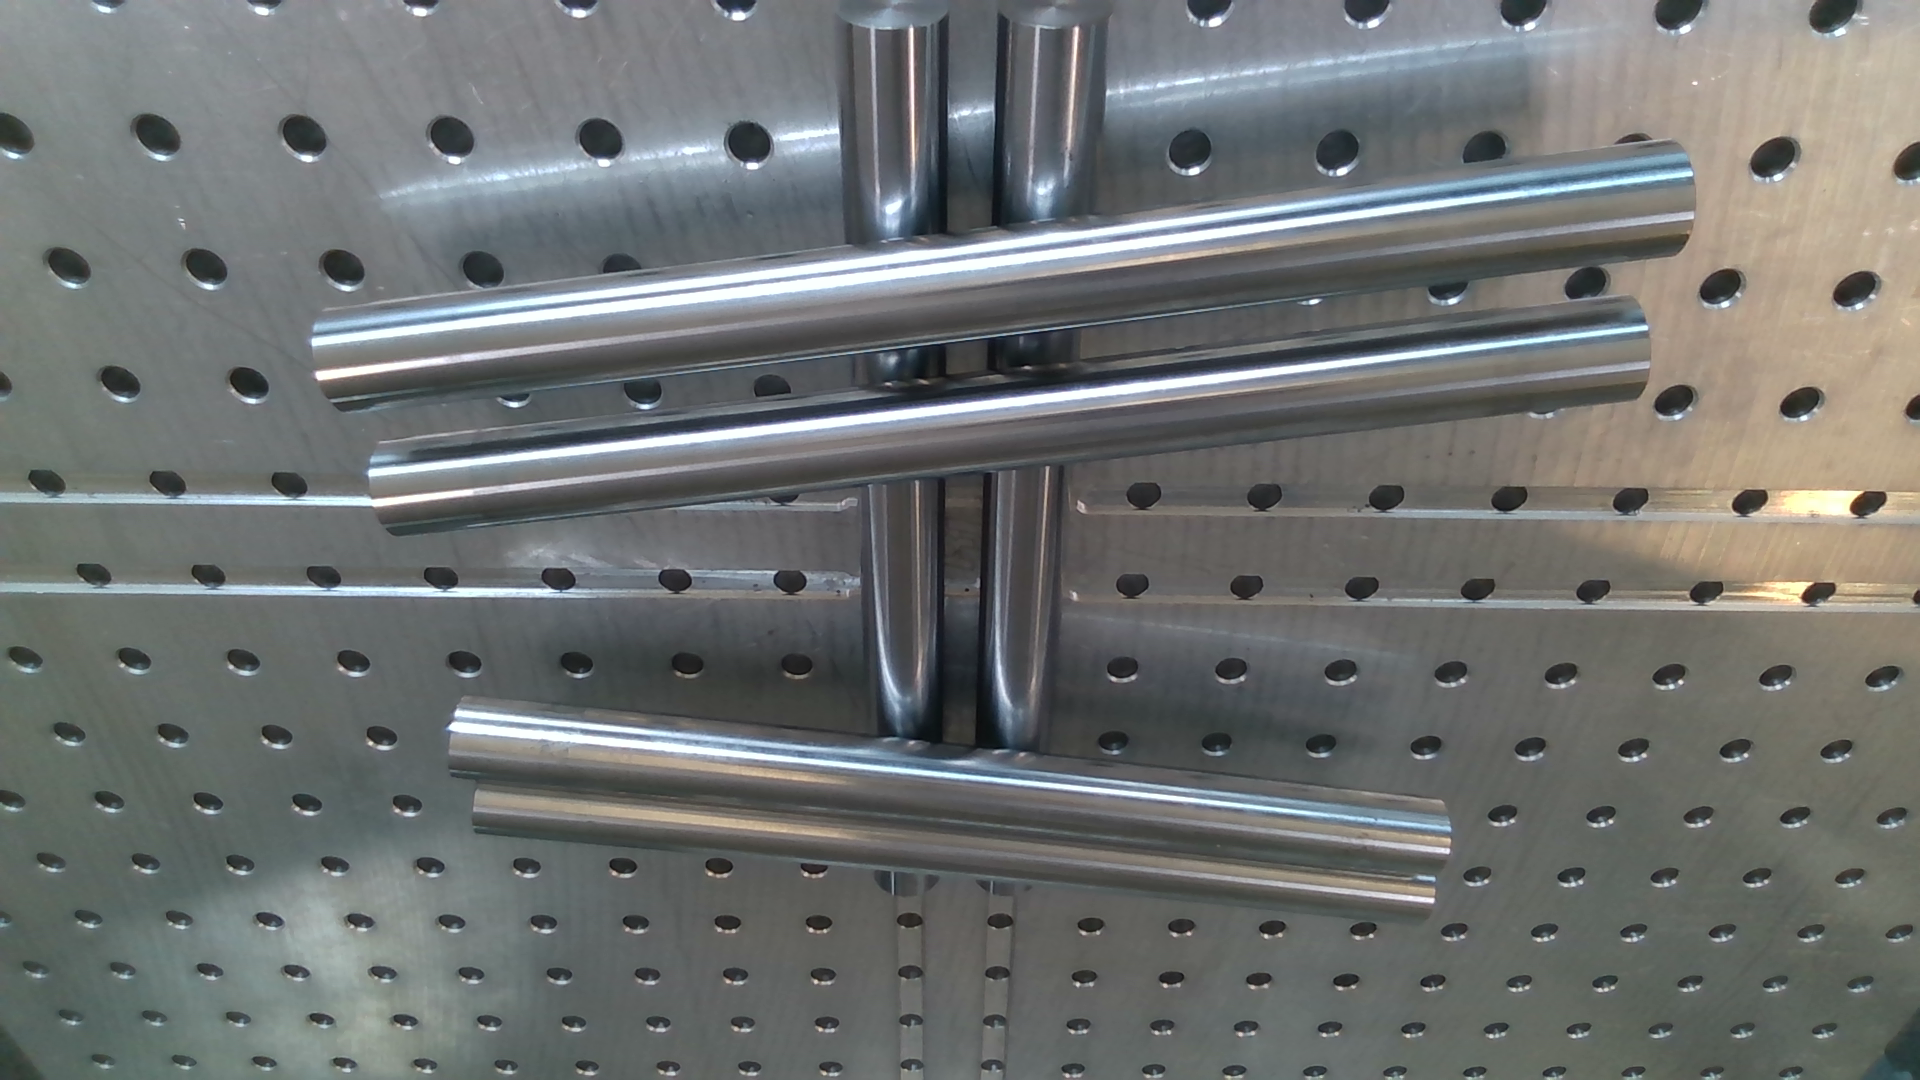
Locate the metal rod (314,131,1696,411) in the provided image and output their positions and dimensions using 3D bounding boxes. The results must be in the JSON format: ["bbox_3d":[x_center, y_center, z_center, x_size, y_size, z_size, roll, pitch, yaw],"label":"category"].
[{"bbox_3d":[0.004,-0.059,0.309,0.300,0.025,0.025,-6,130,5],"label":"metal rod"}]

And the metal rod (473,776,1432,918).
[{"bbox_3d":[0.002,0.094,0.439,0.300,0.025,0.025,7,130,-6],"label":"metal rod"}]

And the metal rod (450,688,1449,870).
[{"bbox_3d":[0.001,0.074,0.422,0.300,0.025,0.025,7,130,-6],"label":"metal rod"}]

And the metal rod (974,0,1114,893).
[{"bbox_3d":[0.018,0.000,0.392,0.025,0.025,0.301,1,130,-1],"label":"metal rod"}]

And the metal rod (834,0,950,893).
[{"bbox_3d":[-0.017,0.000,0.392,0.025,0.025,0.301,1,130,-1],"label":"metal rod"}]

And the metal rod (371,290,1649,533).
[{"bbox_3d":[0.007,-0.030,0.334,0.300,0.025,0.025,-6,130,5],"label":"metal rod"}]
